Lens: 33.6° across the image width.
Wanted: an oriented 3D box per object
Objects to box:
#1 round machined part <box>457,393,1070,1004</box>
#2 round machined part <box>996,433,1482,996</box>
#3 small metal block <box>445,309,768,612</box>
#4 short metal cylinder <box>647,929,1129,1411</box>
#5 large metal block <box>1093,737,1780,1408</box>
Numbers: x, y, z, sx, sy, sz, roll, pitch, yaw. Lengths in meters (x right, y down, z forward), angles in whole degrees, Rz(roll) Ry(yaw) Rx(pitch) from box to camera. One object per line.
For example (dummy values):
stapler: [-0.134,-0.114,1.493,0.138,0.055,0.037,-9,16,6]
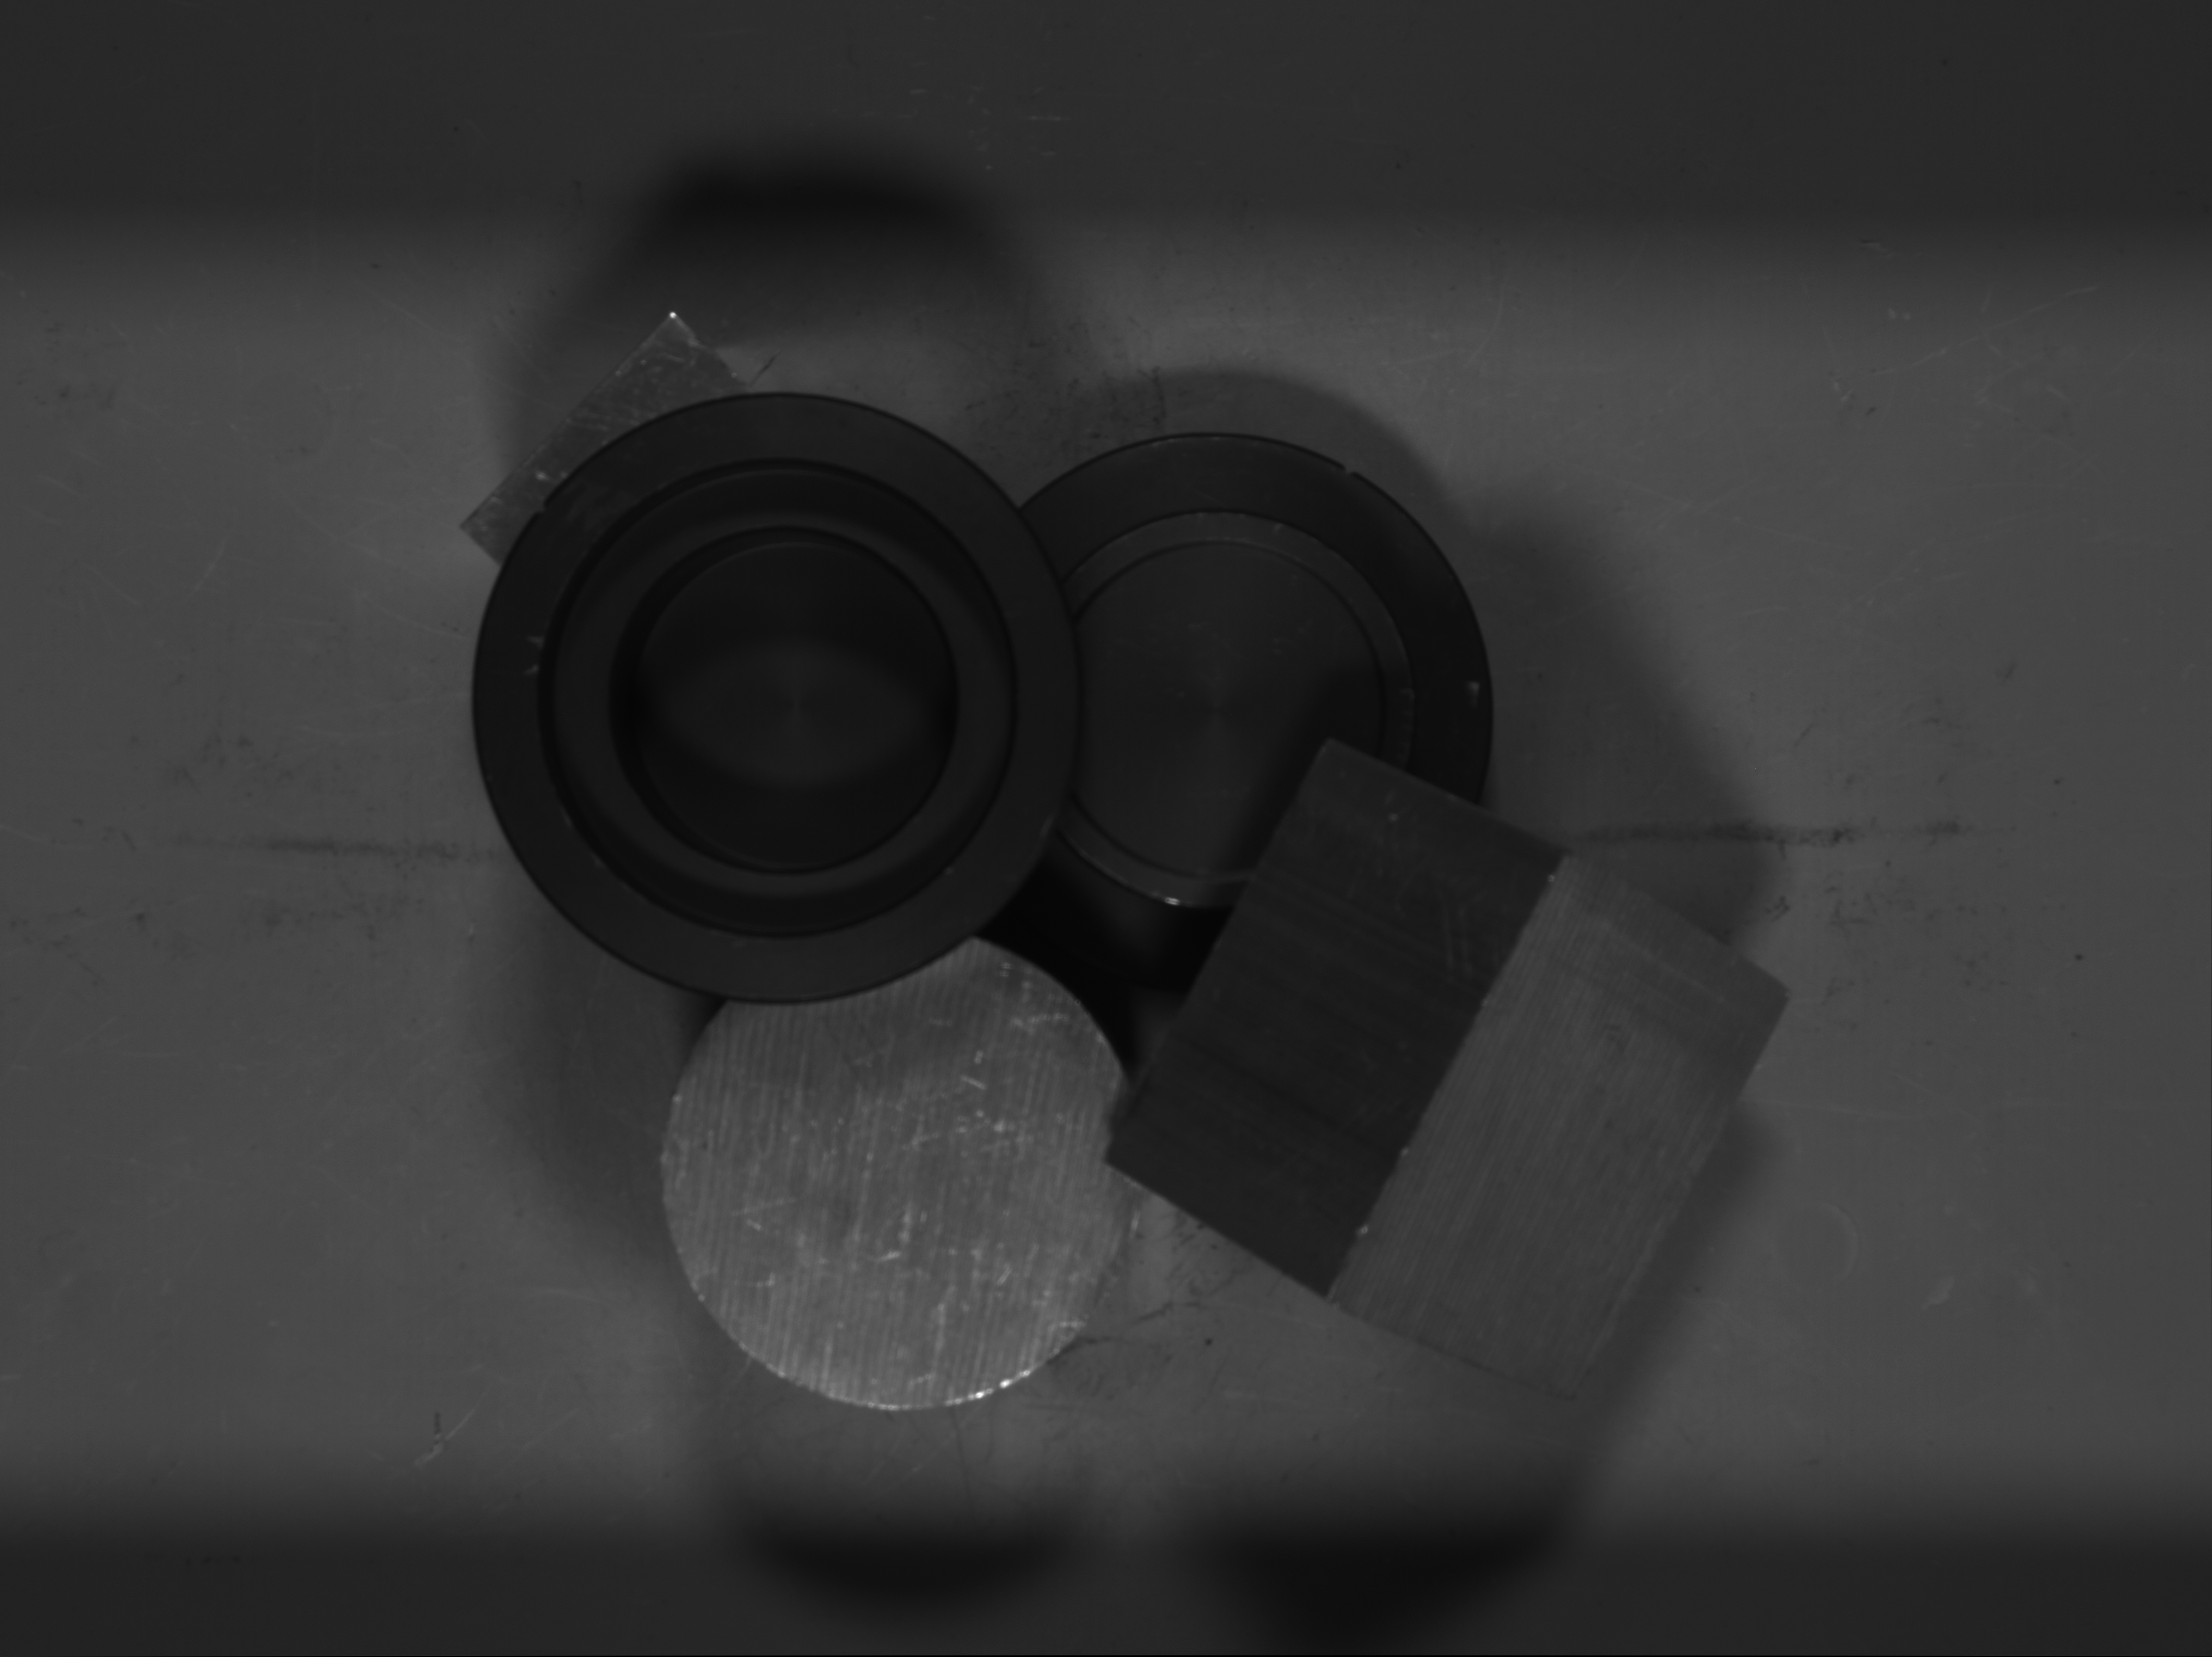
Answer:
round machined part: [-0.055,-0.021,0.606,0.098,0.042,0.098,0,90,0]
round machined part: [0.016,-0.020,0.634,0.098,0.042,0.098,0,90,0]
small metal block: [-0.083,-0.059,0.630,0.025,0.050,0.050,44,90,0]
short metal cylinder: [-0.036,0.056,0.631,0.080,0.050,0.080,0,90,0]
large metal block: [0.056,0.042,0.610,0.050,0.080,0.080,28,89,41]
